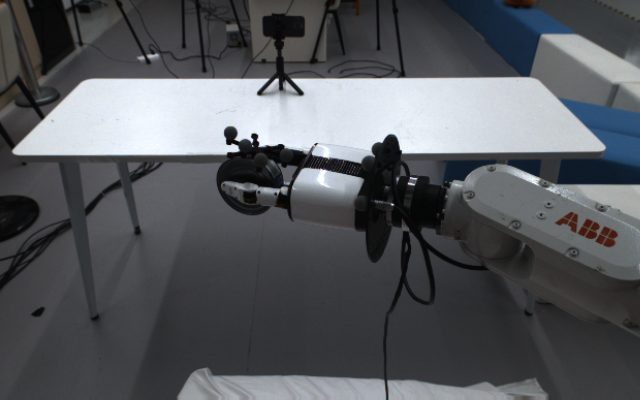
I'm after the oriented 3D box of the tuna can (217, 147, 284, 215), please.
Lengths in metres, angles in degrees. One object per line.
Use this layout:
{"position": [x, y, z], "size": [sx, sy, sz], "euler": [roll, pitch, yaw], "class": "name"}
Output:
{"position": [-0.092, -0.024, 0.651], "size": [0.085, 0.085, 0.034], "euler": [13, 30, 15], "class": "tuna can"}
